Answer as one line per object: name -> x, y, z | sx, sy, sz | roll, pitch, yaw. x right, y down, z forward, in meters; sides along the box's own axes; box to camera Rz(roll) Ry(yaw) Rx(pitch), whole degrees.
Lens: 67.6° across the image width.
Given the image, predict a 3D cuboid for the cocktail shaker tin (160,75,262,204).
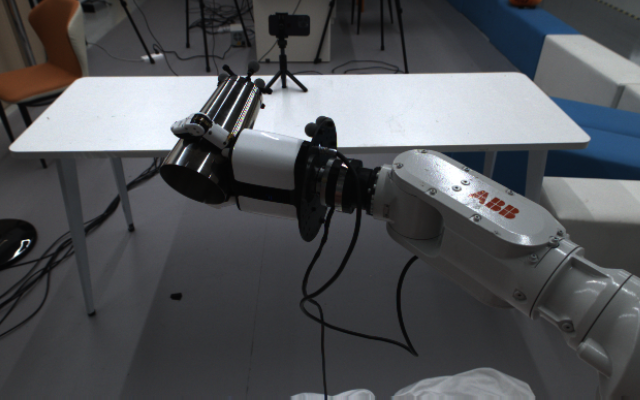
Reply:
cocktail shaker tin -> -0.143, -0.090, 0.669 | 0.093, 0.093, 0.170 | 13, 61, 15
